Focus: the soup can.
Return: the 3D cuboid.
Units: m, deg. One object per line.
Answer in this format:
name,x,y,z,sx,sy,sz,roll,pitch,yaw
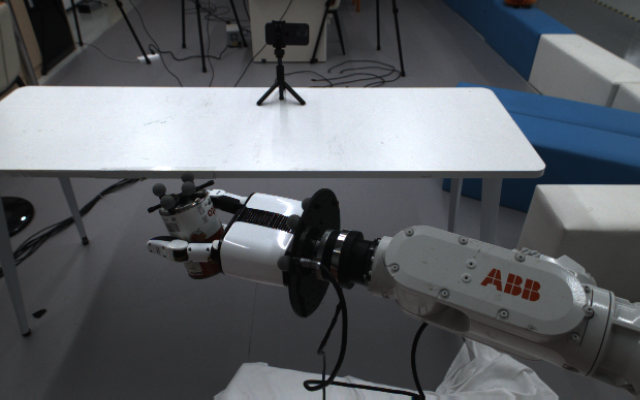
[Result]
soup can,-0.160,0.046,0.639,0.067,0.101,0.067,-16,23,7
